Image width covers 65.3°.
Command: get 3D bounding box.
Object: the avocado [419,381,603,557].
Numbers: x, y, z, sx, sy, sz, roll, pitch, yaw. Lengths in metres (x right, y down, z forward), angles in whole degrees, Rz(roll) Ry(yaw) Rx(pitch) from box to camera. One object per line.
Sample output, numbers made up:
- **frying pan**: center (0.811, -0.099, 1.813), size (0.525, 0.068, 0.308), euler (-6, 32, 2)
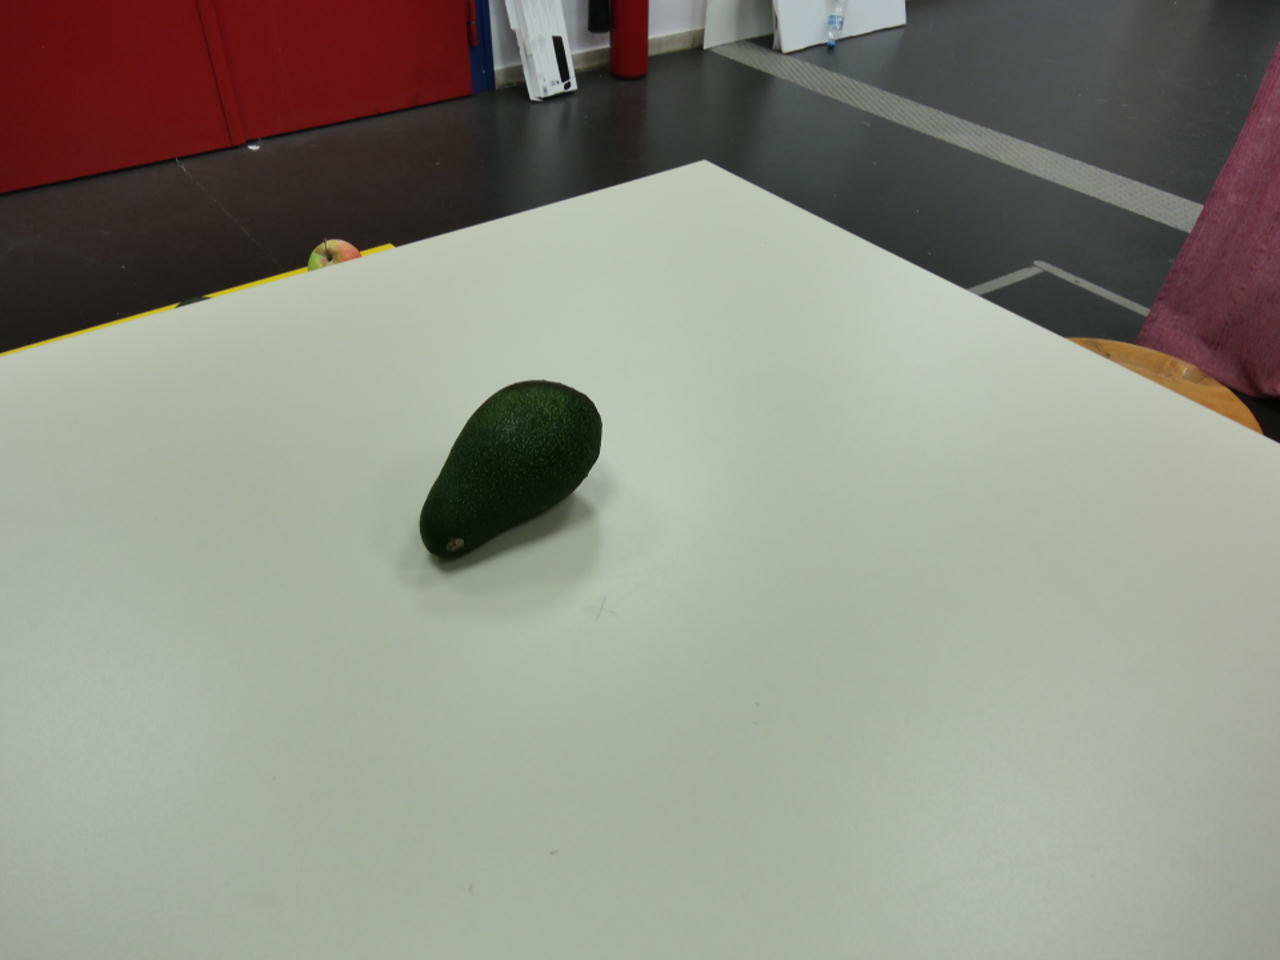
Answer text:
- **avocado**: center (-0.078, -0.014, 0.573), size (0.123, 0.076, 0.074), euler (-19, 43, -24)
